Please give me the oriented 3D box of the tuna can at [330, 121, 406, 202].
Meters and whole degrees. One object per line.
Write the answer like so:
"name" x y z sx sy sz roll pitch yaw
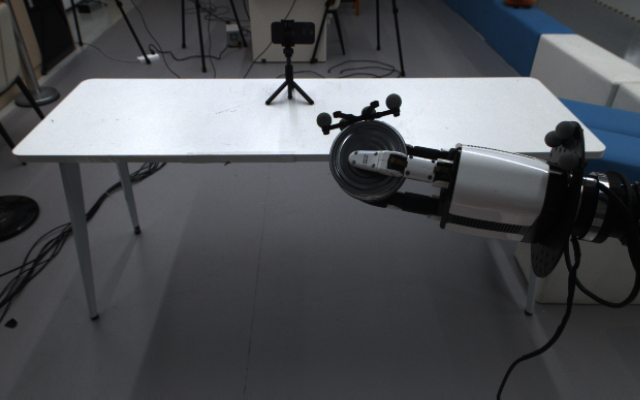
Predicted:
"tuna can" 0.057 -0.045 0.532 0.085 0.085 0.034 12 -4 14
